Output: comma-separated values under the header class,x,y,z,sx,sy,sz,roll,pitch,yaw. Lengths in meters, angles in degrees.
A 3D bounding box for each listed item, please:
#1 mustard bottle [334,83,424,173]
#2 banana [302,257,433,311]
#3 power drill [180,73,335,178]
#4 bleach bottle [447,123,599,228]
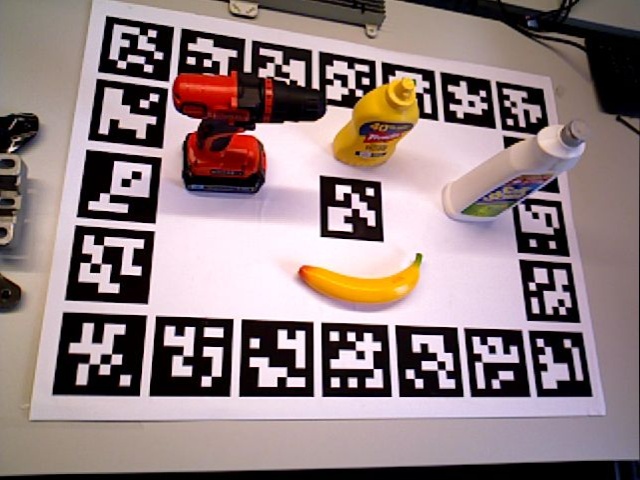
class,x,y,z,sx,sy,sz,roll,pitch,yaw
mustard bottle,0.093,-0.160,0.769,0.095,0.195,0.058,-2,72,-18
banana,0.072,0.063,0.766,0.195,0.039,0.074,-1,75,-12
power drill,-0.080,-0.142,0.683,0.182,0.190,0.057,-1,72,-12
bleach bottle,0.284,-0.093,0.765,0.102,0.255,0.067,13,68,-12
